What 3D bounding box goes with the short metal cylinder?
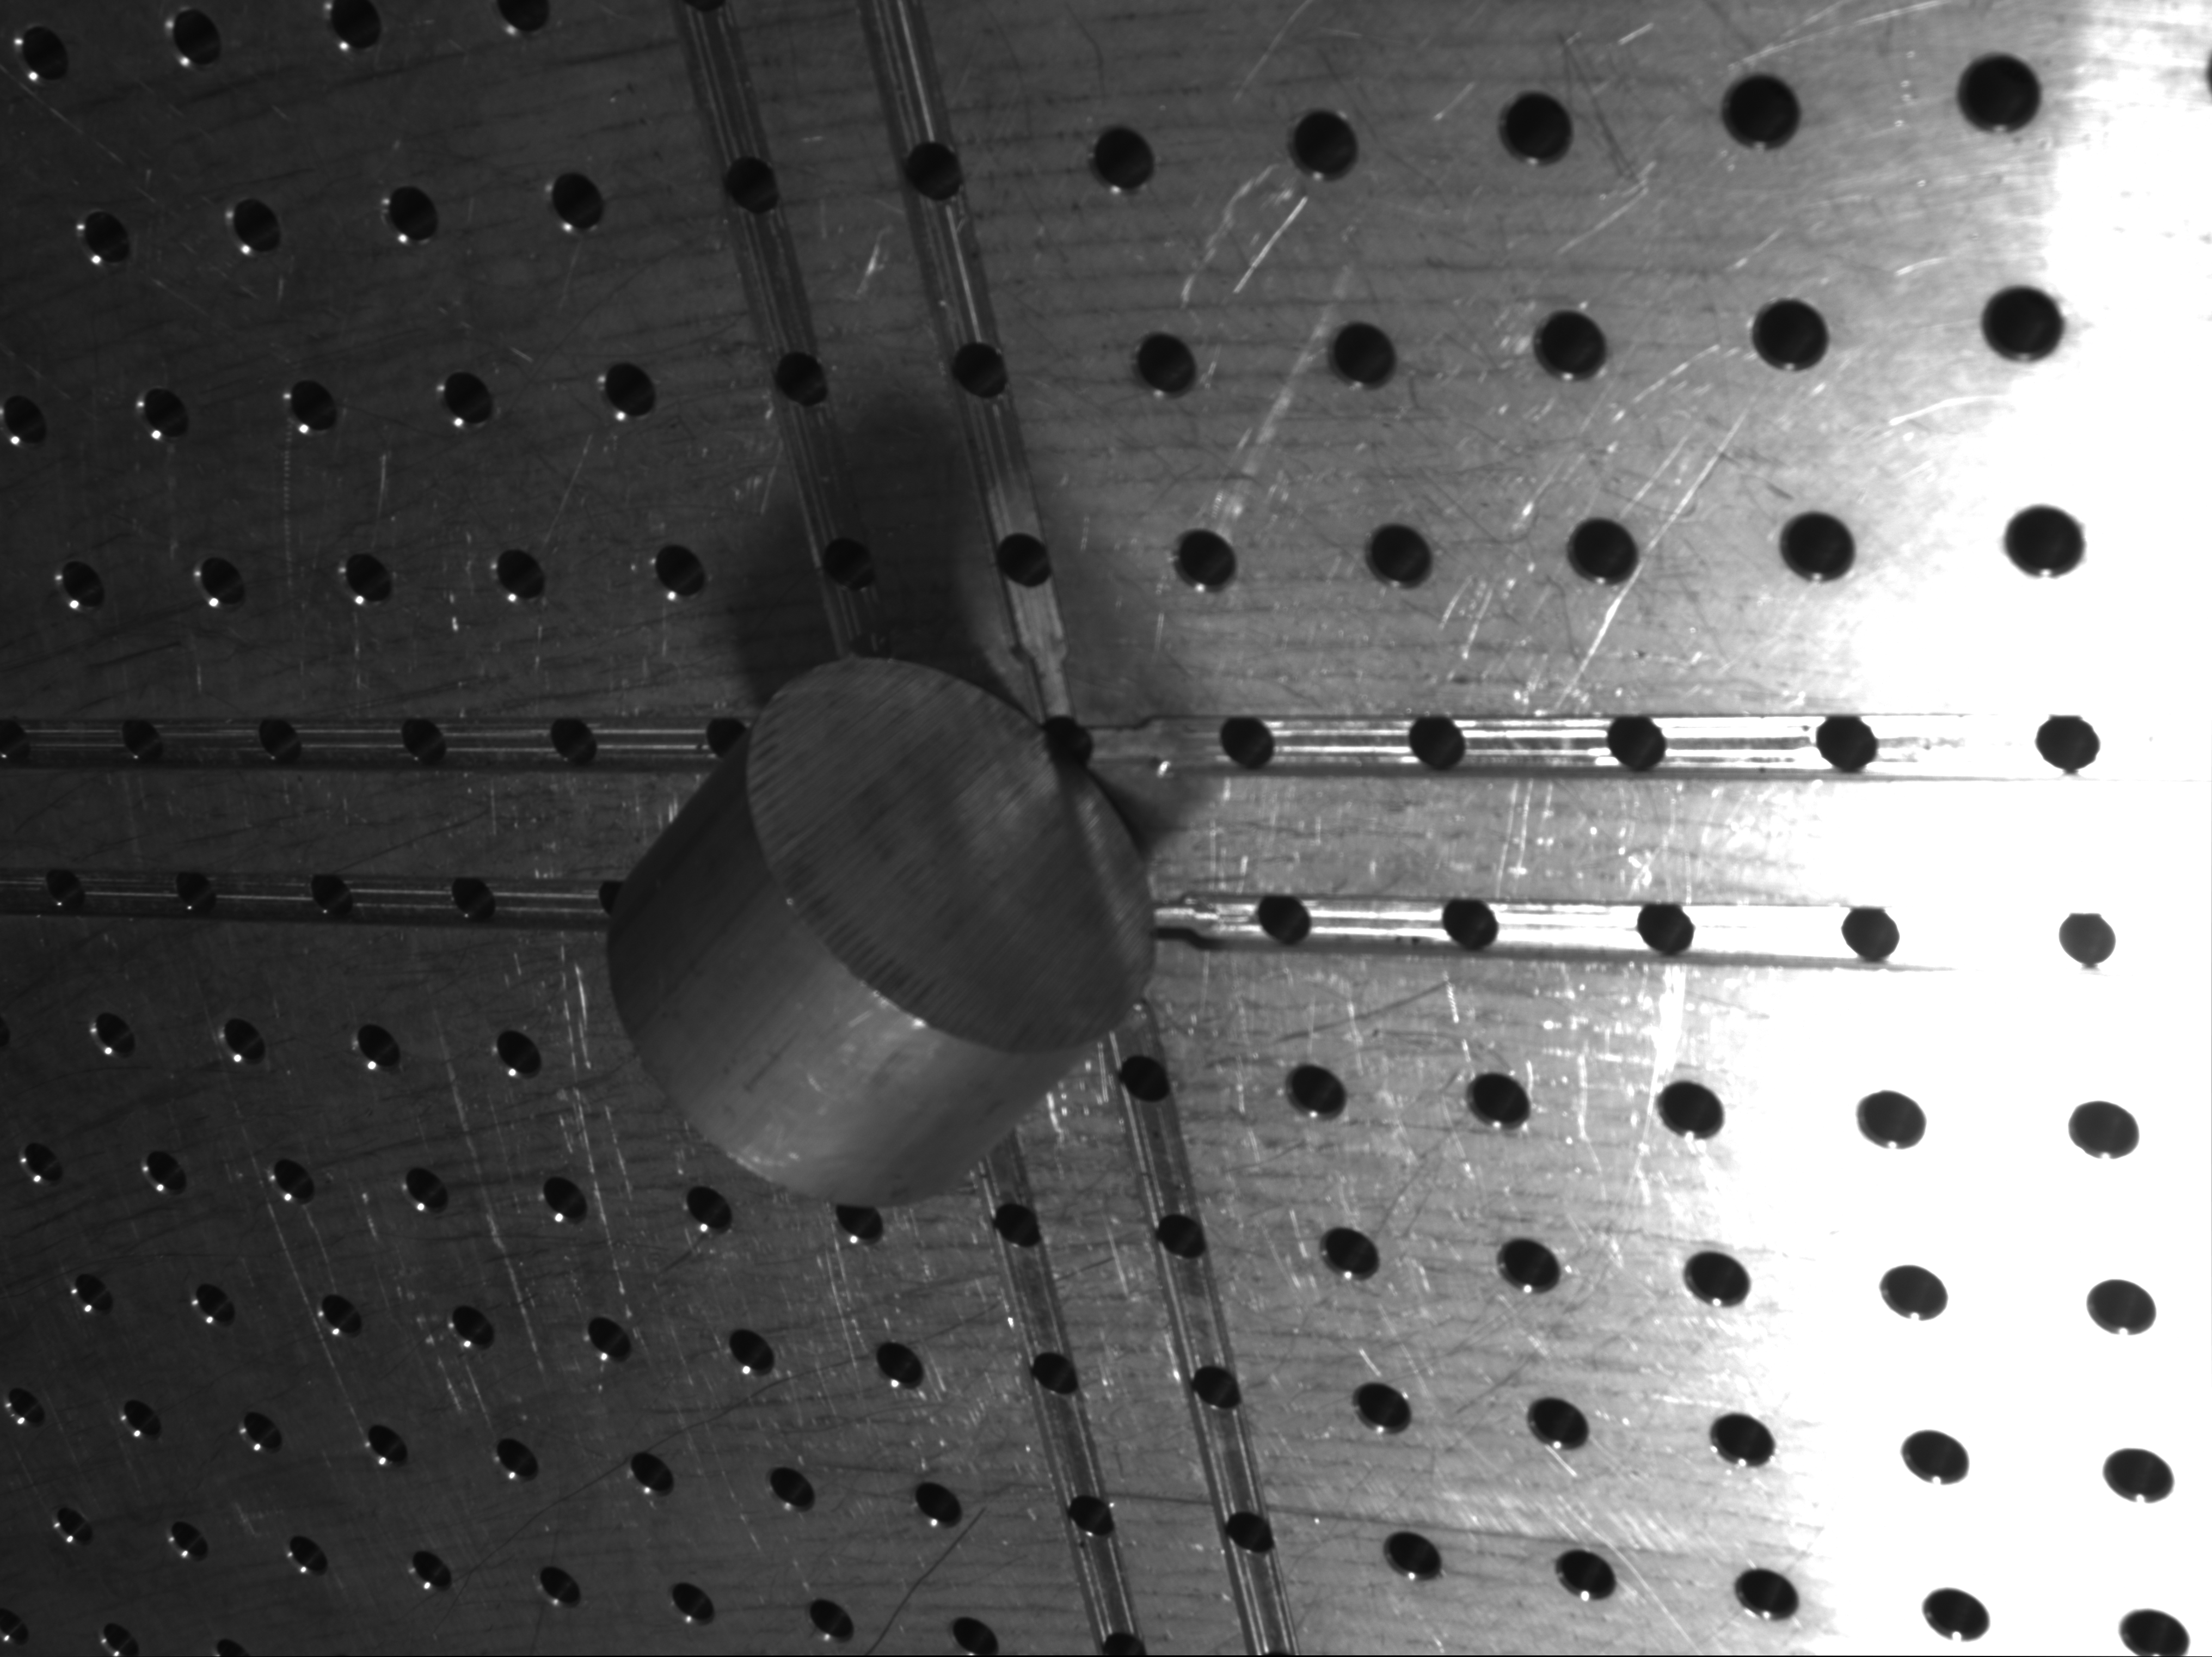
[{"bbox_3d":[-0.039,0.018,0.629,0.080,0.080,0.050,42,128,-2],"label":"short metal cylinder"}]
